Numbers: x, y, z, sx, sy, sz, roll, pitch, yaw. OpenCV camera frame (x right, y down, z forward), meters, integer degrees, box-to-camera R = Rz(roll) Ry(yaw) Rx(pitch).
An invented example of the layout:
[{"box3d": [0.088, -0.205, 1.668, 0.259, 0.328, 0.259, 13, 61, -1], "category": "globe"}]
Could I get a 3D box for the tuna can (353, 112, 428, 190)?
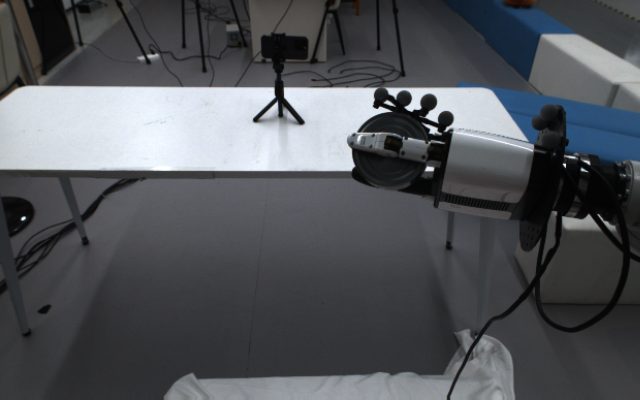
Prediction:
[{"box3d": [0.083, -0.057, 0.554, 0.085, 0.085, 0.034, 14, -7, 16], "category": "tuna can"}]
